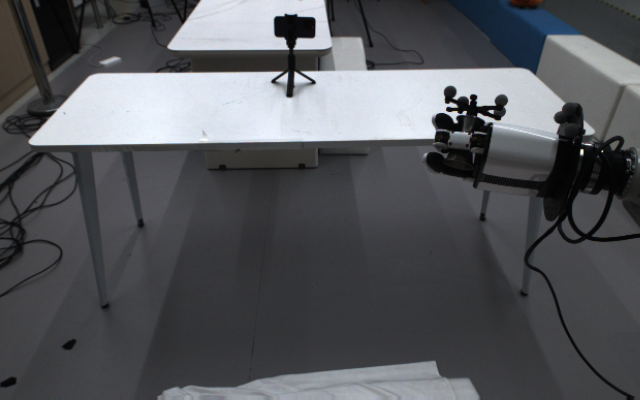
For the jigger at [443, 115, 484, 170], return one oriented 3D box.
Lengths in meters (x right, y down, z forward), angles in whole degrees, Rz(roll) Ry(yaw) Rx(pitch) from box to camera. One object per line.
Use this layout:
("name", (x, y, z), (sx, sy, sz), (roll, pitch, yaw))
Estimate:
("jigger", (0.206, -0.081, 0.683), (0.043, 0.071, 0.043), (16, -7, 2))
